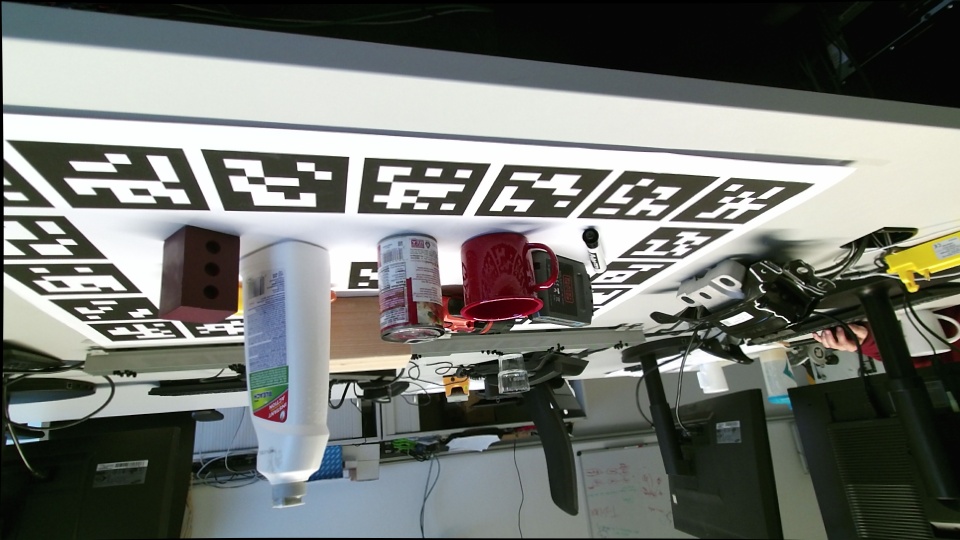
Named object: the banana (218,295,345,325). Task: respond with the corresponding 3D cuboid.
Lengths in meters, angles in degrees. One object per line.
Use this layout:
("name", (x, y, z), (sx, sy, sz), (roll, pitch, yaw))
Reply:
("banana", (-0.258, 0.042, 0.657), (0.198, 0.038, 0.074), (8, 141, -30))

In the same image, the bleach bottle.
("bleach bottle", (-0.187, 0.098, 0.538), (0.068, 0.249, 0.103), (13, 153, -43))

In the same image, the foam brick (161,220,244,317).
("foam brick", (-0.261, 0.000, 0.506), (0.051, 0.077, 0.053), (-20, 158, 36))

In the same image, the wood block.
("wood block", (-0.201, 0.094, 0.751), (0.207, 0.090, 0.090), (-1, 157, -15))

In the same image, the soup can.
("soup can", (-0.066, 0.023, 0.569), (0.068, 0.101, 0.068), (-4, 163, -1))

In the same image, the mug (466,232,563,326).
("mug", (0.038, 0.006, 0.601), (0.117, 0.081, 0.093), (-21, 153, 26))

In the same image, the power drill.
("power drill", (0.044, 0.044, 0.751), (0.185, 0.057, 0.187), (17, 150, -41))

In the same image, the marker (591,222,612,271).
("marker", (0.147, -0.027, 0.642), (0.020, 0.019, 0.121), (-14, 157, 11))
